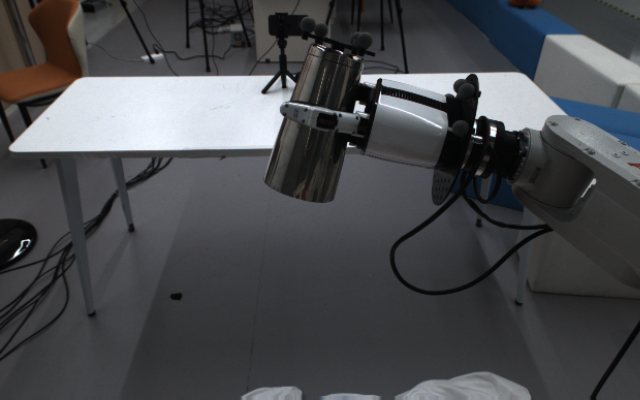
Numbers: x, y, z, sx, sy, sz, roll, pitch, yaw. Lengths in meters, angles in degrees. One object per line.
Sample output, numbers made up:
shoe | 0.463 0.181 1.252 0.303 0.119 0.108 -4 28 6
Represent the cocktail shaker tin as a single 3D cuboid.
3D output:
cocktail shaker tin | -0.003 -0.093 0.581 0.093 0.170 0.093 15 17 -5
